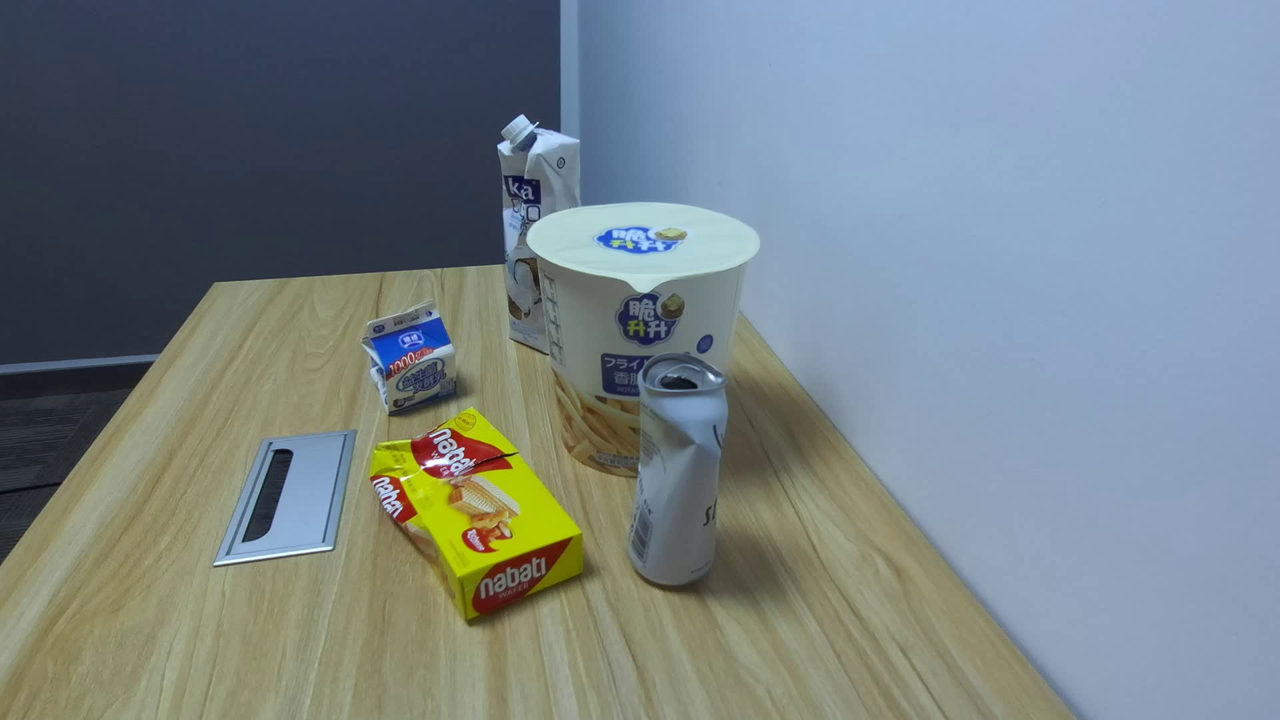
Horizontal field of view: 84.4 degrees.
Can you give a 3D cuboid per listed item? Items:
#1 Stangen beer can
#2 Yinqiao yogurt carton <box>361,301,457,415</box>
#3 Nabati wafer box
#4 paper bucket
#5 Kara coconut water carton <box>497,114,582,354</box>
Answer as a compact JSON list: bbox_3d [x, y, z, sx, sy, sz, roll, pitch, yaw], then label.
[{"bbox_3d":[0.026,0.079,0.486,0.077,0.162,0.066,16,33,22],"label":"Stangen beer can"},{"bbox_3d":[-0.234,-0.010,0.704,0.075,0.097,0.080,-21,42,-32],"label":"Yinqiao yogurt carton"},{"bbox_3d":[-0.139,0.109,0.555,0.107,0.042,0.203,-17,33,-30],"label":"Nabati wafer box"},{"bbox_3d":[0.003,-0.019,0.625,0.198,0.195,0.198,1,29,0],"label":"paper bucket"},{"bbox_3d":[-0.105,-0.133,0.758,0.079,0.256,0.083,-19,31,-34],"label":"Kara coconut water carton"}]
